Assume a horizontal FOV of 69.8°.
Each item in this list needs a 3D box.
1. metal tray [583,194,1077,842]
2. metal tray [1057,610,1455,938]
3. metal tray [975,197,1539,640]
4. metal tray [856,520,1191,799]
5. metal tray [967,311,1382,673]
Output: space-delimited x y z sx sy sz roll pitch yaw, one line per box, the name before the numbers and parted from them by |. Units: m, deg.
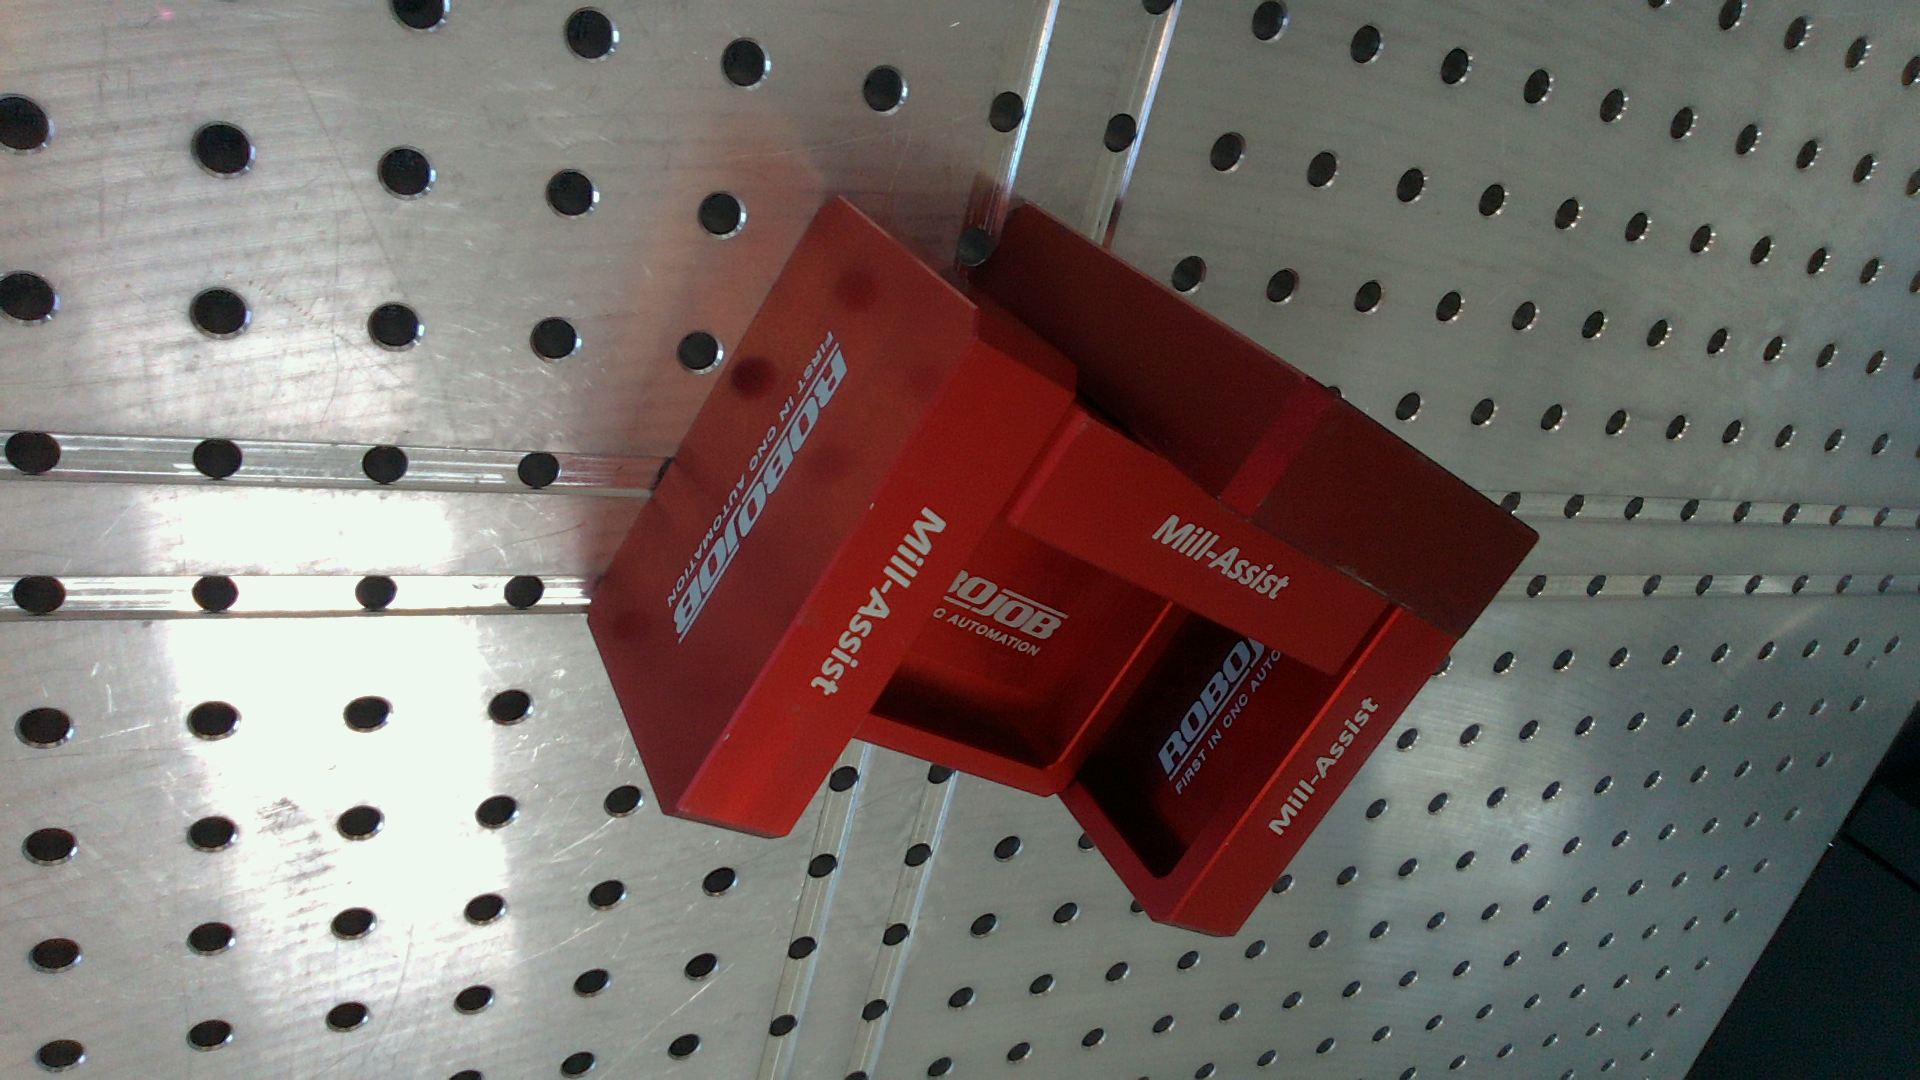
metal tray | -0.037 -0.007 0.325 0.030 0.090 0.130 24 105 -37
metal tray | 0.084 0.042 0.420 0.030 0.090 0.130 24 106 -36
metal tray | 0.067 -0.033 0.340 0.090 0.130 0.030 25 105 -37
metal tray | 0.001 0.019 0.400 0.130 0.030 0.090 24 105 -37
metal tray | 0.045 -0.017 0.364 0.130 0.090 0.030 24 106 -37
